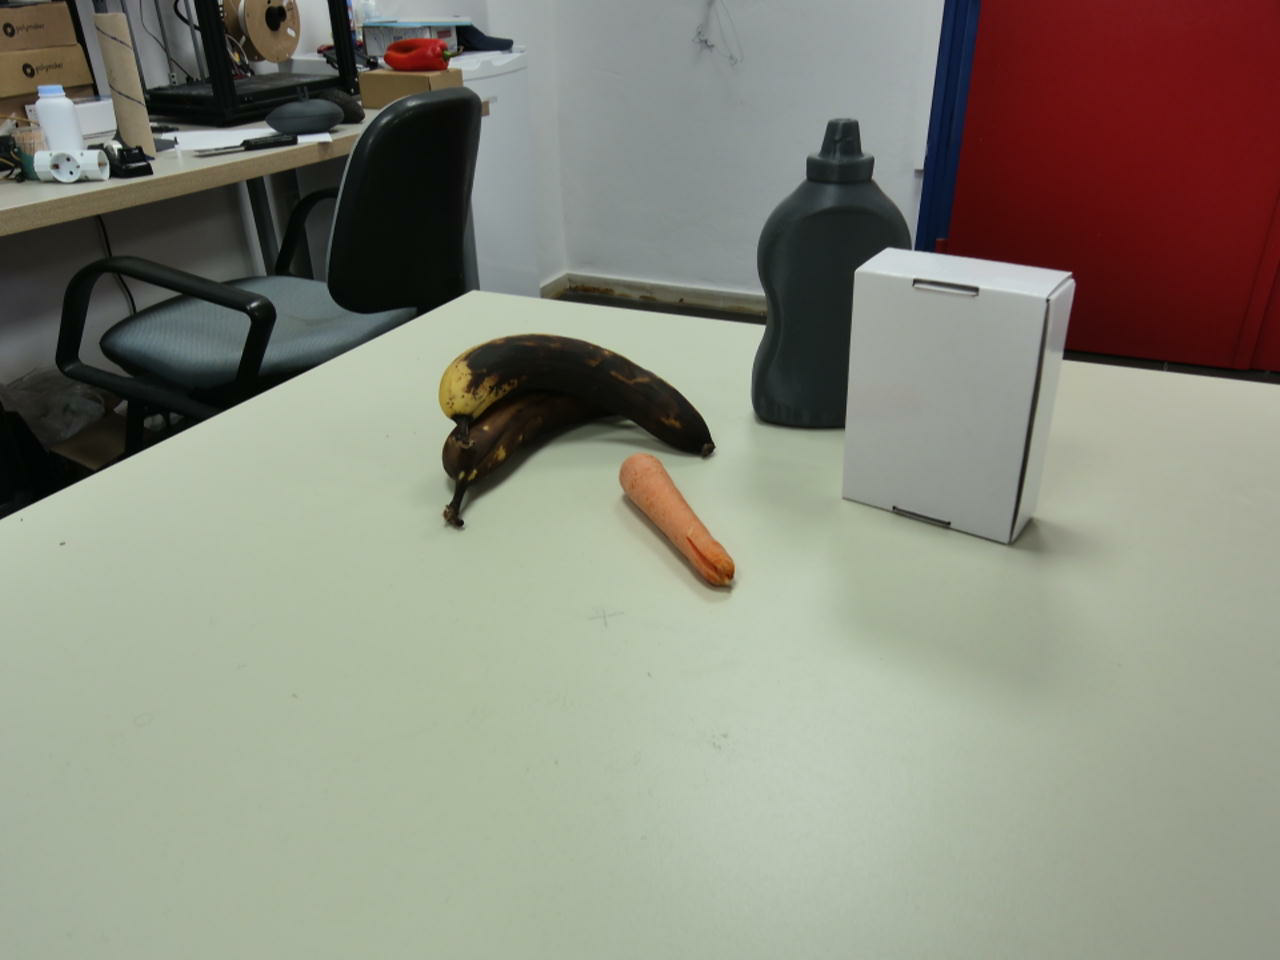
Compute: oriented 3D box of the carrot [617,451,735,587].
[{"bbox_3d":[0.020,0.019,0.576,0.030,0.032,0.136,-9,26,-19],"label":"carrot"}]
